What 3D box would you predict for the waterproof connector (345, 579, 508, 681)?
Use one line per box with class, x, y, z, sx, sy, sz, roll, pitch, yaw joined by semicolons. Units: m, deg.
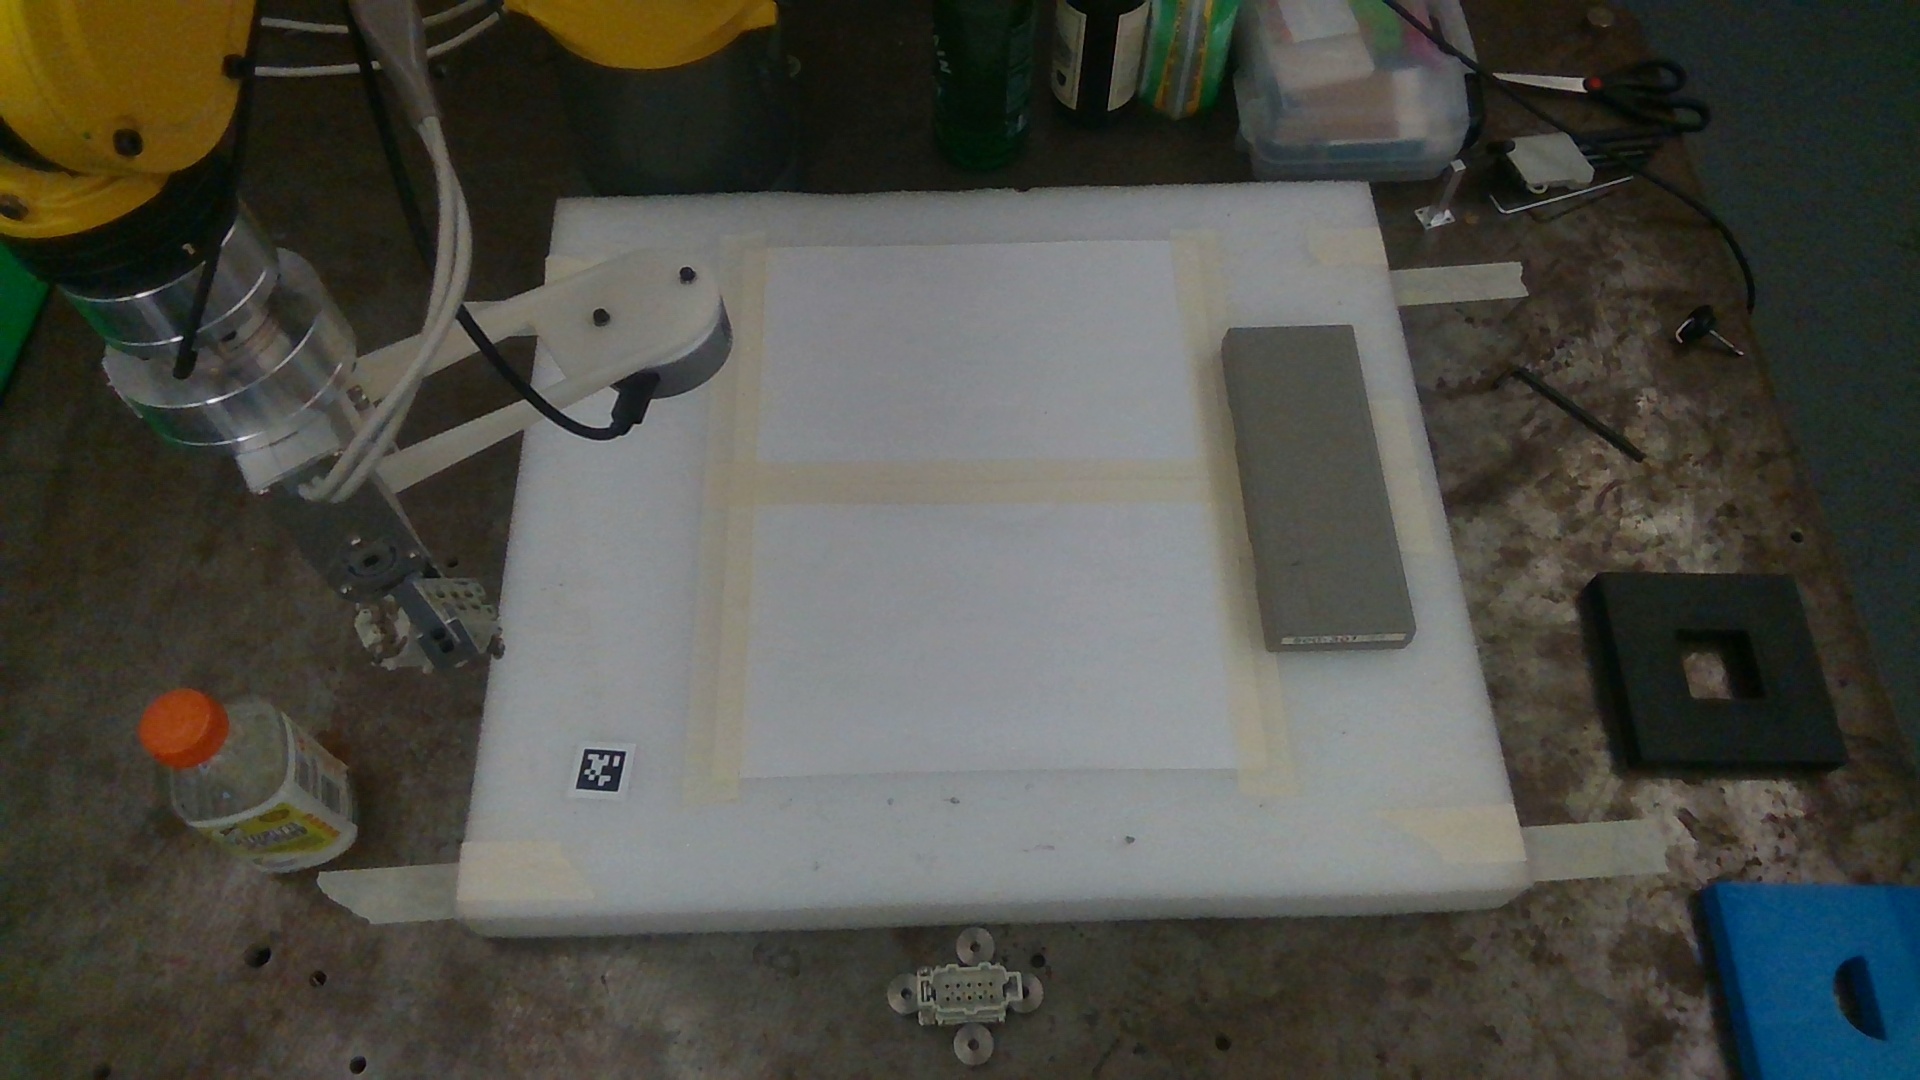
waterproof connector;-0.245;0.043;0.641;0.069;0.039;0.037;4;40;-50
